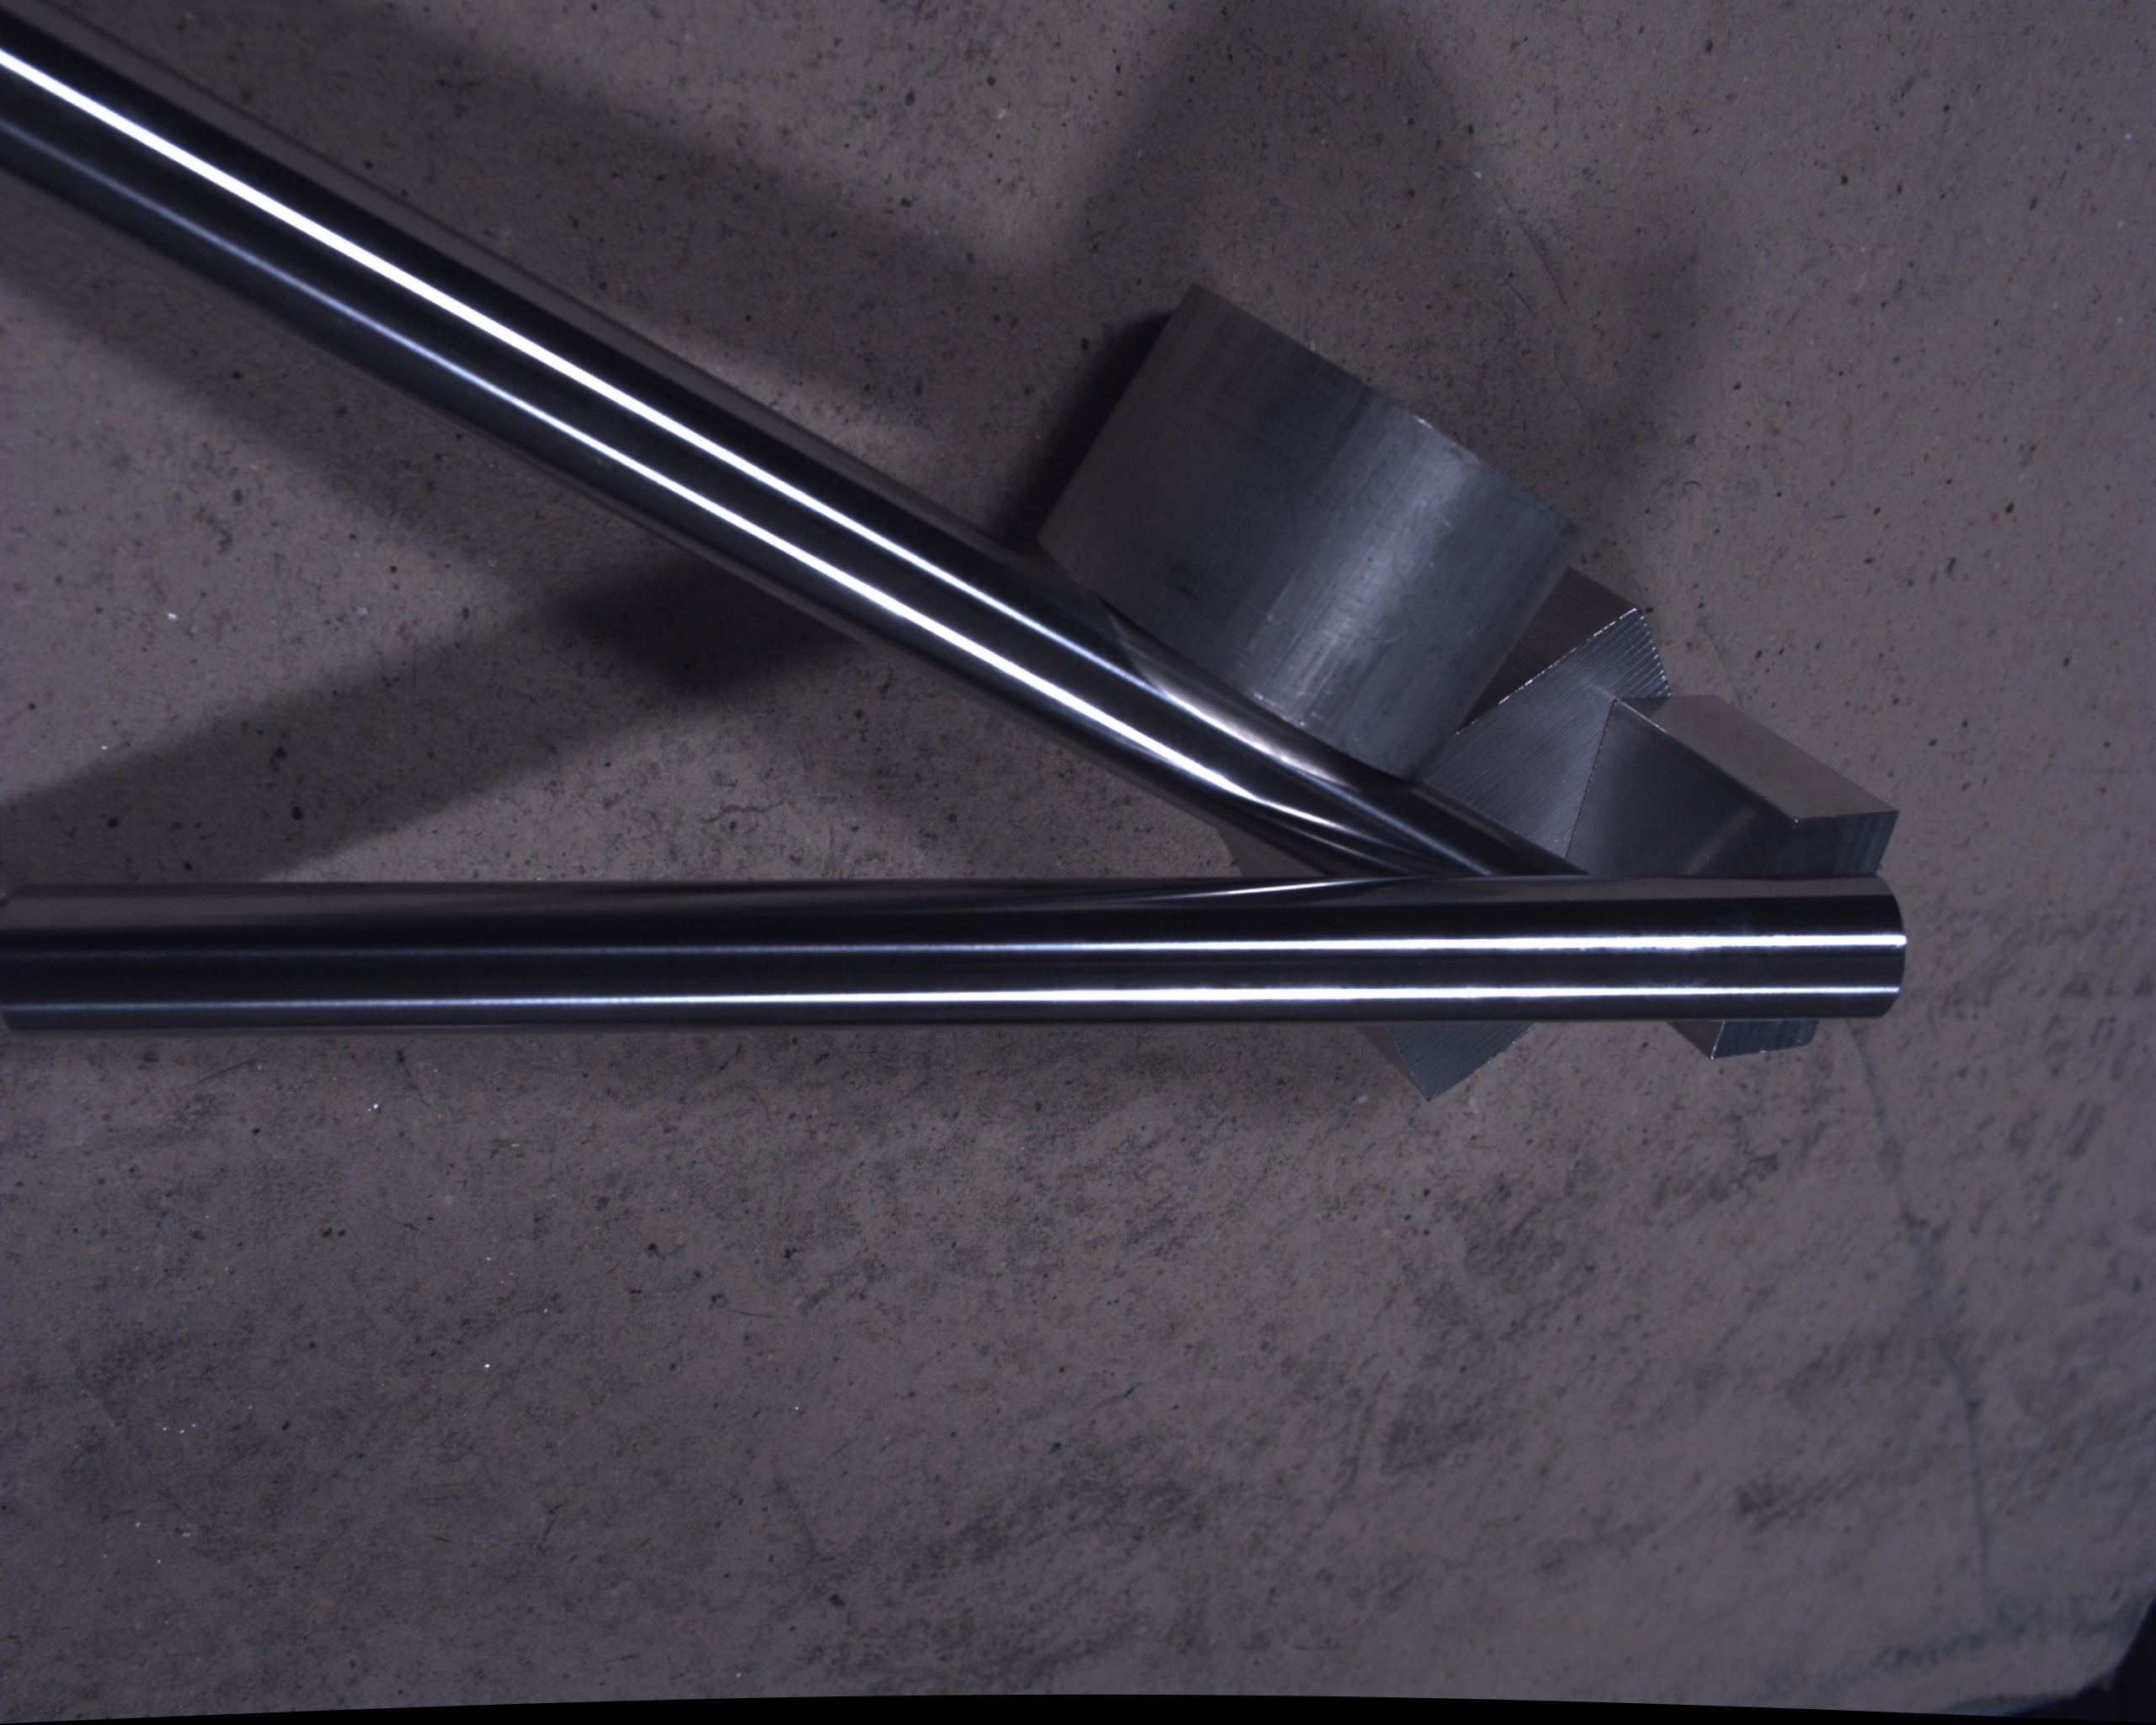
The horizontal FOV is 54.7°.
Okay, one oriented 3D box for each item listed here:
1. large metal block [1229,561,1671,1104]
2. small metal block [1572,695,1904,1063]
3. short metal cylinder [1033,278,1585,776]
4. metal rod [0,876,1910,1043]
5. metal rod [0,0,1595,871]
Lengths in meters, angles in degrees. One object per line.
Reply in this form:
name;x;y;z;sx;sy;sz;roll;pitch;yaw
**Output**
large metal block;0.078;-0.011;0.428;0.080;0.050;0.080;-35;129;-4
small metal block;0.120;0.002;0.392;0.025;0.050;0.050;-4;121;-26
short metal cylinder;0.040;-0.058;0.362;0.080;0.080;0.050;23;106;-37
metal rod;-0.015;0.015;0.342;0.302;0.025;0.025;0;121;-5
metal rod;-0.032;-0.049;0.324;0.302;0.025;0.025;26;104;-26
